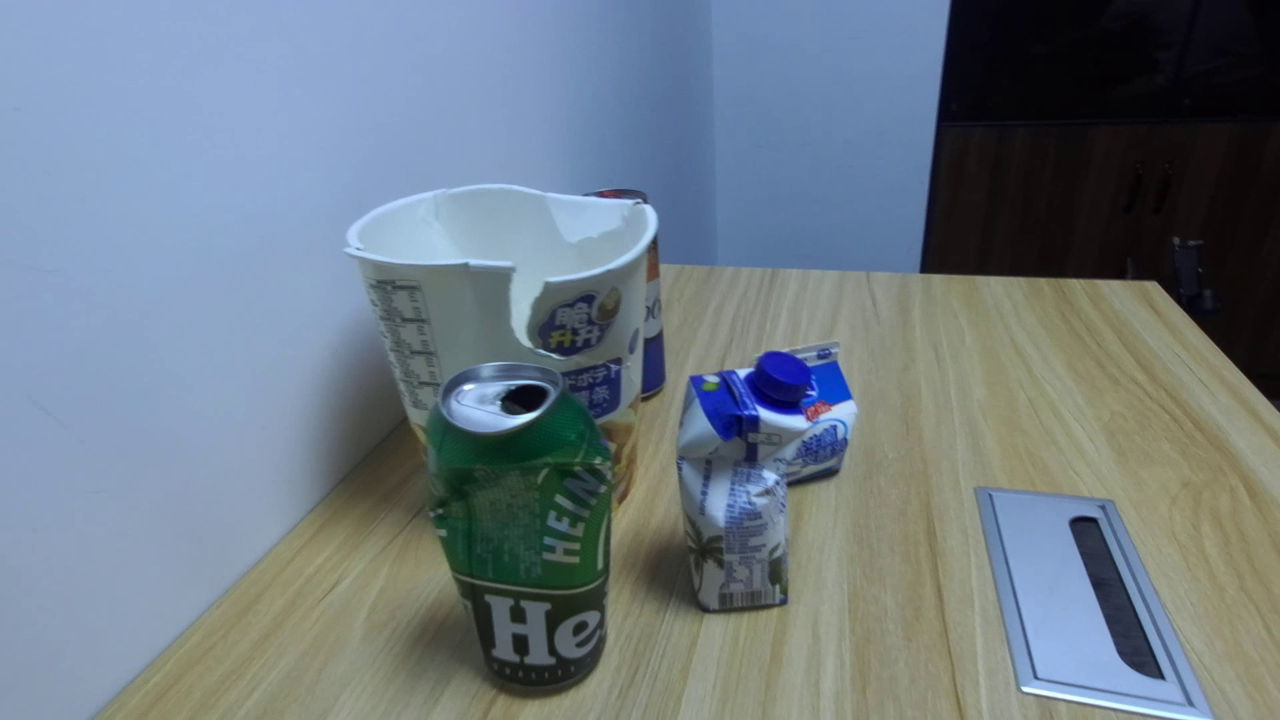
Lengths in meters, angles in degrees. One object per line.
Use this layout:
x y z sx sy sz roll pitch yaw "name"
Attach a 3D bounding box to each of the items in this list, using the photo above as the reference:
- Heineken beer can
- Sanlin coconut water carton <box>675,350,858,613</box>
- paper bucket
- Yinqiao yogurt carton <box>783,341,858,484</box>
-0.057 0.085 0.345 0.066 0.164 0.077 -24 33 -33 "Heineken beer can"
0.054 0.065 0.379 0.070 0.144 0.060 -4 29 -3 "Sanlin coconut water carton"
-0.079 -0.001 0.465 0.202 0.197 0.146 9 31 24 "paper bucket"
0.106 0.030 0.491 0.074 0.097 0.080 -13 37 -15 "Yinqiao yogurt carton"
